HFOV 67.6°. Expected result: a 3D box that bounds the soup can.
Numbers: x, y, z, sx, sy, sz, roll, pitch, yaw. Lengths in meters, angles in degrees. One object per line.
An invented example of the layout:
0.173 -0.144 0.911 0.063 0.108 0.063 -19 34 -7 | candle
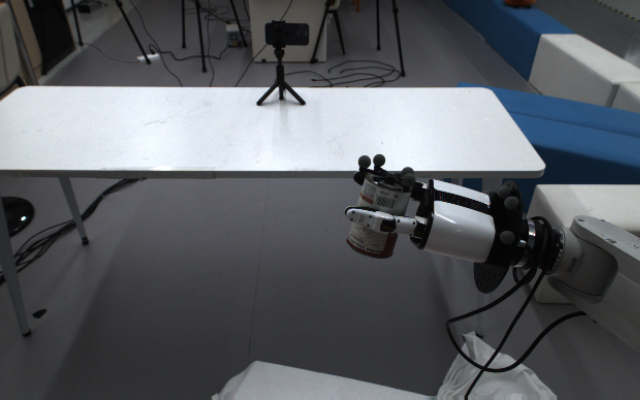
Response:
0.083 0.020 0.667 0.067 0.101 0.067 13 18 -4 | soup can
